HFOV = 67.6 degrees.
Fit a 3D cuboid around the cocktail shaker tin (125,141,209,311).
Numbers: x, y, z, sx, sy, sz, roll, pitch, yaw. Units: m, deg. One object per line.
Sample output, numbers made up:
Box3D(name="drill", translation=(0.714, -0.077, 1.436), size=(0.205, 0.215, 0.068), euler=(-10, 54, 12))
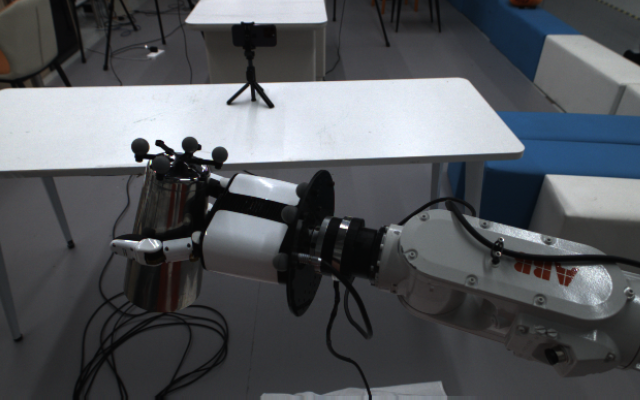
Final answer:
Box3D(name="cocktail shaker tin", translation=(-0.170, 0.034, 0.556), size=(0.093, 0.170, 0.093), euler=(12, 29, -7))
